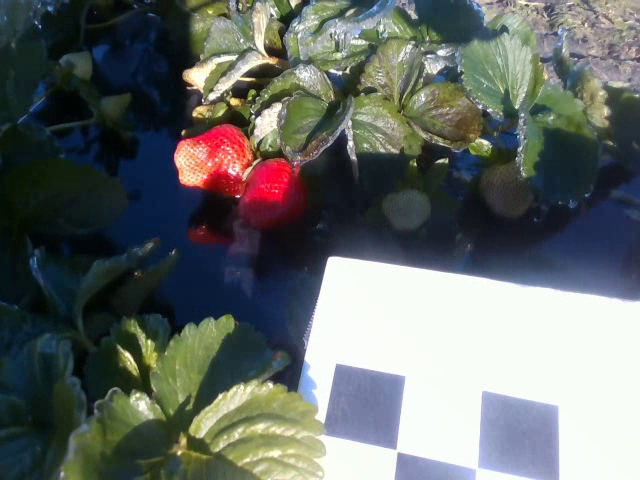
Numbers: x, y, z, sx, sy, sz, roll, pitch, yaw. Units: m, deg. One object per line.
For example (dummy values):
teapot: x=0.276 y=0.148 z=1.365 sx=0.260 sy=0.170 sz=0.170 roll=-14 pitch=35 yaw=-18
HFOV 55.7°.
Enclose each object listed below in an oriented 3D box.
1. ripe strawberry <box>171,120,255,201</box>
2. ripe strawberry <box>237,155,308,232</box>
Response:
ripe strawberry: x=-0.076 y=-0.055 z=0.422 sx=0.070 sy=0.053 sz=0.040 roll=-27 pitch=-25 yaw=-17
ripe strawberry: x=-0.035 y=-0.035 z=0.392 sx=0.043 sy=0.059 sz=0.040 roll=7 pitch=-36 yaw=12
